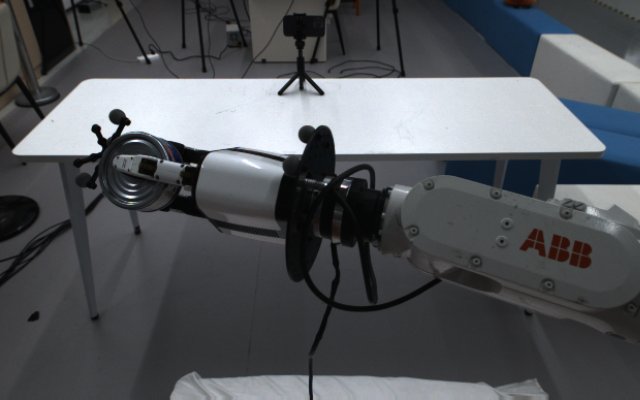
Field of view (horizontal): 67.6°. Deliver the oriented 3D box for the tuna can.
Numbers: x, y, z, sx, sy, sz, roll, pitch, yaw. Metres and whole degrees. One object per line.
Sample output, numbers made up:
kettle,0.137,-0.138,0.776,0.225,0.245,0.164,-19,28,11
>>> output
tuna can,-0.191,-0.026,0.524,0.085,0.085,0.034,10,-3,11
